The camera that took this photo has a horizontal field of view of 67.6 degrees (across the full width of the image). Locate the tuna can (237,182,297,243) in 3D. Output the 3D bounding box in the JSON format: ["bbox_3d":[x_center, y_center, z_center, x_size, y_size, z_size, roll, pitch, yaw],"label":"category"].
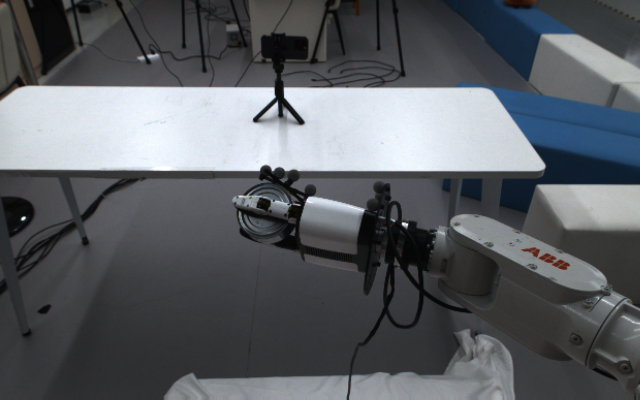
[{"bbox_3d":[-0.075,0.019,0.708,0.085,0.034,0.085,-4,67,10],"label":"tuna can"}]
